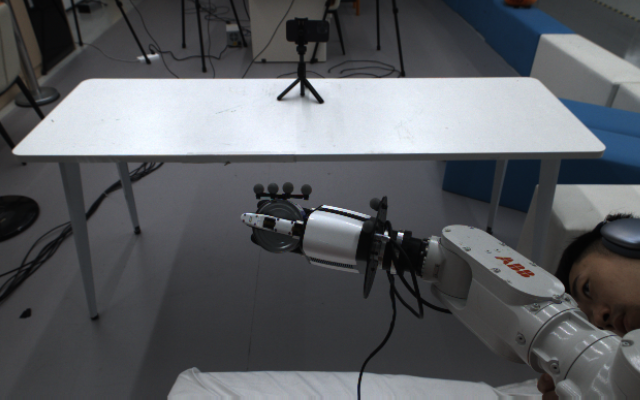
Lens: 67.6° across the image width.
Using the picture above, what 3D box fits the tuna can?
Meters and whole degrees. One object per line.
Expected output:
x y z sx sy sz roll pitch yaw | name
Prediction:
-0.061 0.042 0.771 0.085 0.085 0.034 12 -1 14 | tuna can
